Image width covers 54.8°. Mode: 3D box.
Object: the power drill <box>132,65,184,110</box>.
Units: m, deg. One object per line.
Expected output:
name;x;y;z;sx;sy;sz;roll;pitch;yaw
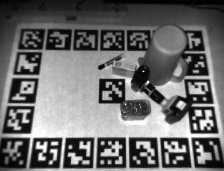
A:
power drill;0.156;0.007;0.748;0.186;0.184;0.057;34;77;5

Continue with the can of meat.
can of meat;0.089;0.084;0.770;0.102;0.084;0.057;-2;69;-1

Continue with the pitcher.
pitcher;0.202;-0.099;0.760;0.187;0.244;0.133;29;77;16

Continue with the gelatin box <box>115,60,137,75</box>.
gelatin box;0.059;-0.067;0.829;0.089;0.073;0.030;10;75;1

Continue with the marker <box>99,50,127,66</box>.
marker;0.004;-0.110;0.868;0.121;0.020;0.019;-27;74;-8
